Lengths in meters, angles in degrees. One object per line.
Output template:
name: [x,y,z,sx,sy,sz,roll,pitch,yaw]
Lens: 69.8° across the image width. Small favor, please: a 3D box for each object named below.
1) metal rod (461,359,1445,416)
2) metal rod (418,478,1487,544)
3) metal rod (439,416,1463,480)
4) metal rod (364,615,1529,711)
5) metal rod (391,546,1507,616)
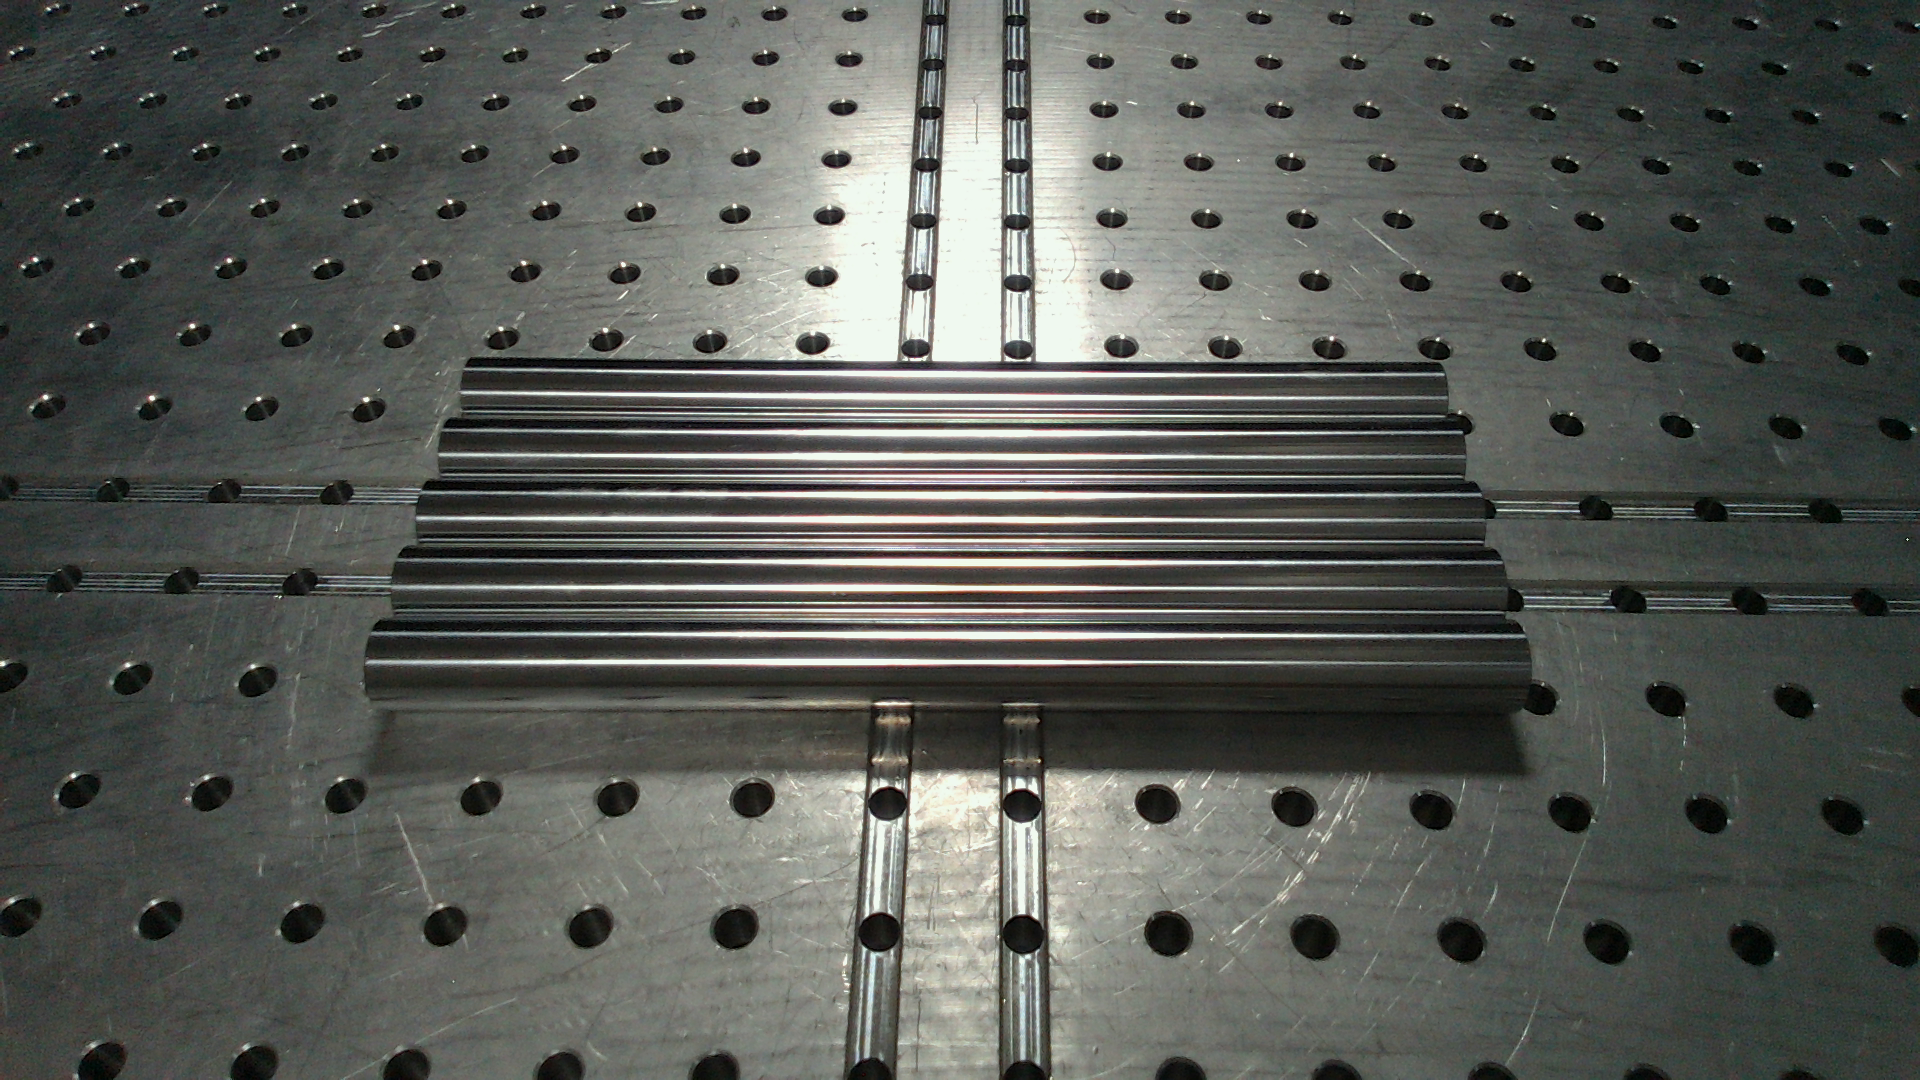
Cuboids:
metal rod: [-0.002,-0.044,0.432,0.300,0.025,0.025,0,50,0]
metal rod: [-0.002,-0.005,0.398,0.300,0.025,0.025,0,50,0]
metal rod: [-0.003,-0.024,0.415,0.300,0.025,0.025,0,50,0]
metal rod: [-0.003,0.033,0.367,0.300,0.025,0.025,0,50,0]
metal rod: [-0.003,0.014,0.382,0.300,0.025,0.025,0,50,0]
